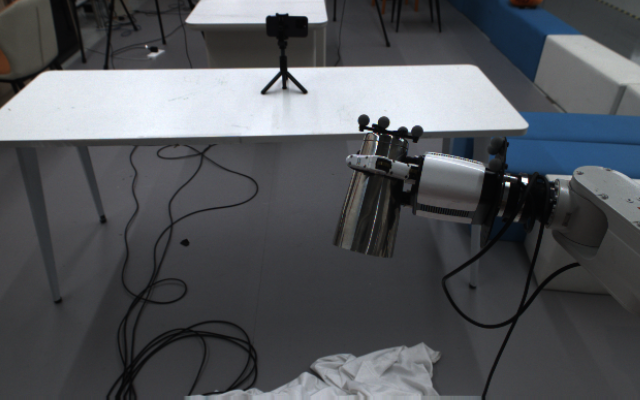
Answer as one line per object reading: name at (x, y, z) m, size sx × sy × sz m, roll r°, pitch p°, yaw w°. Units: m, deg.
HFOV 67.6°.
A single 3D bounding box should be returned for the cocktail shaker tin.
cocktail shaker tin at (0.084, -0.012, 0.715) m, size 0.093 × 0.170 × 0.093 m, roll 13°, pitch 1°, yaw 0°
